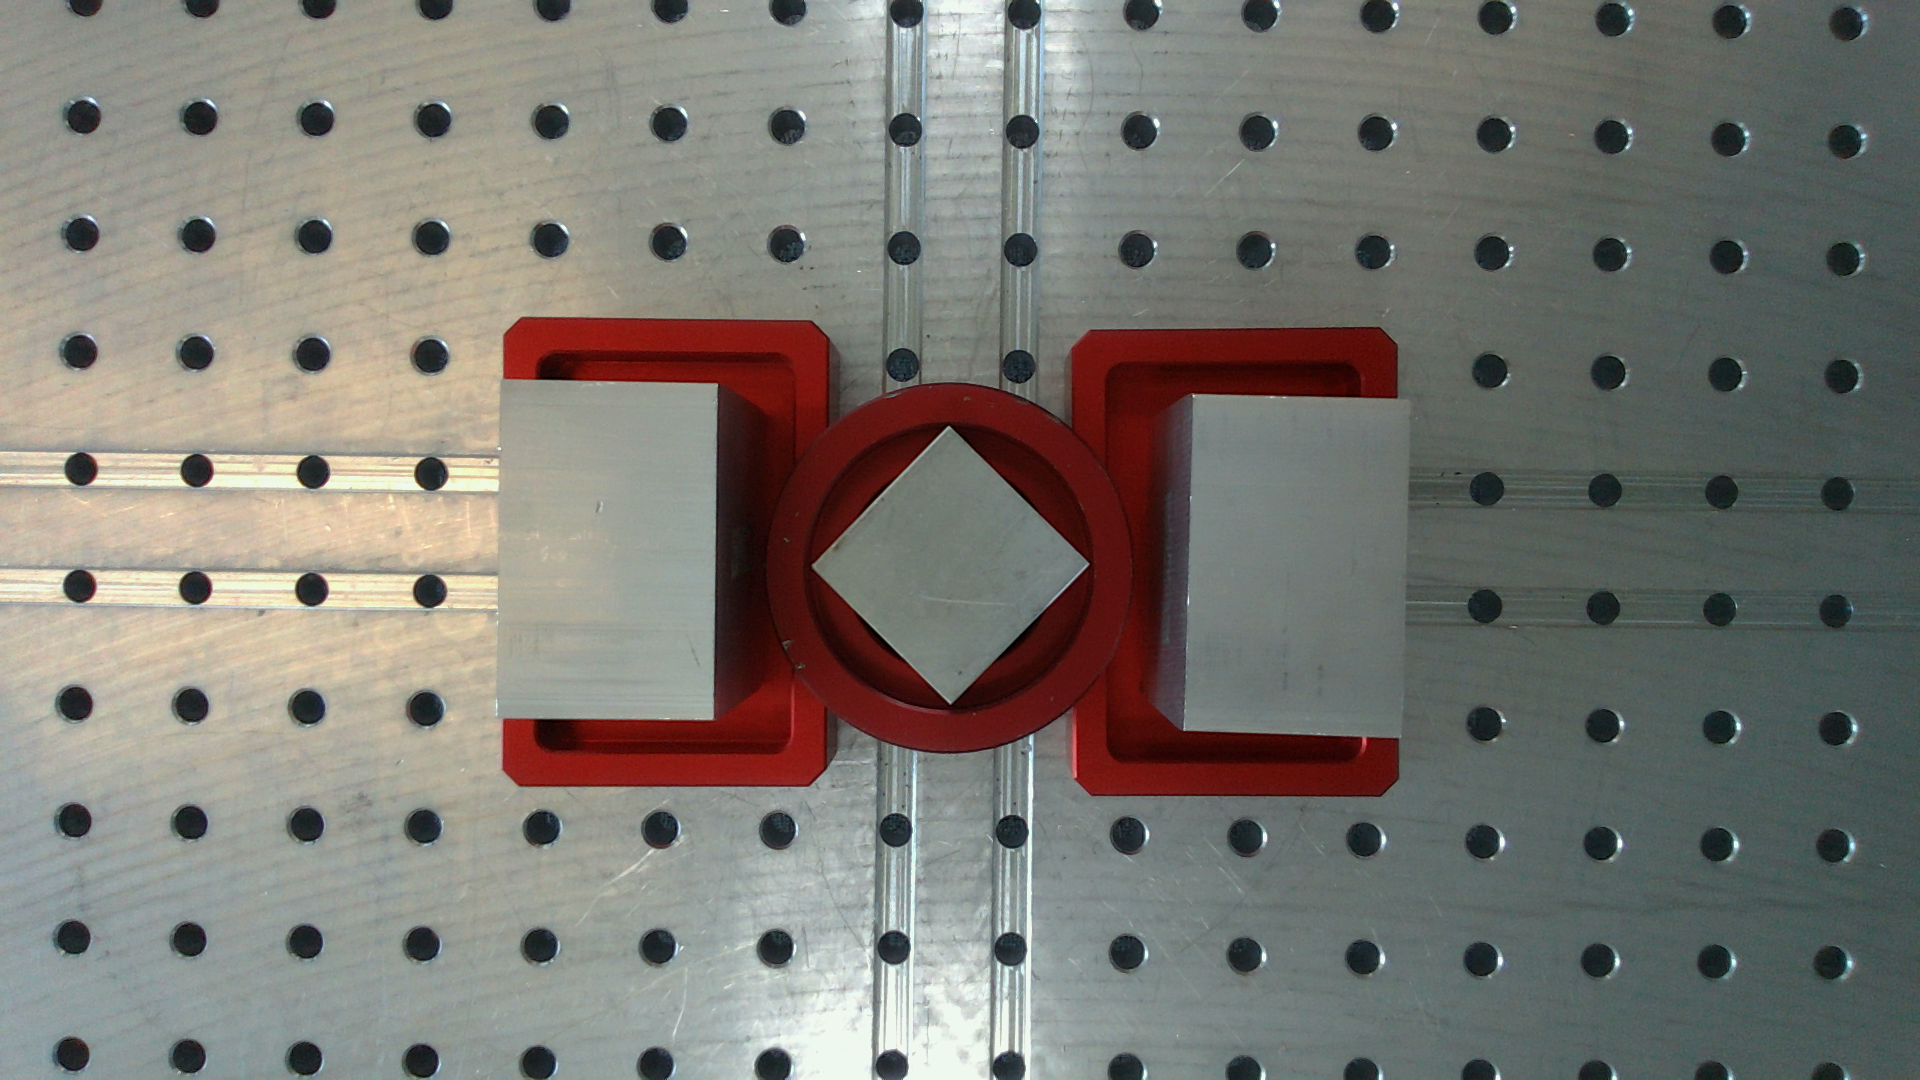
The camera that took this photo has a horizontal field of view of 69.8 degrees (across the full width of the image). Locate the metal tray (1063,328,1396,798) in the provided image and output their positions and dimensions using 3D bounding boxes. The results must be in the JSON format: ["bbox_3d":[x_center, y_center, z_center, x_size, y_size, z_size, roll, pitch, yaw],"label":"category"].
[{"bbox_3d":[0.076,0.006,0.395,0.090,0.030,0.130,0,90,0],"label":"metal tray"}]

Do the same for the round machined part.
[{"bbox_3d":[-0.003,0.008,0.380,0.098,0.042,0.098,0,90,0],"label":"round machined part"}]

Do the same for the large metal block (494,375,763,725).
[{"bbox_3d":[-0.082,0.002,0.357,0.050,0.080,0.080,1,90,0],"label":"large metal block"}]

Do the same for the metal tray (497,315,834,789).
[{"bbox_3d":[-0.082,0.003,0.394,0.090,0.030,0.130,1,90,0],"label":"metal tray"}]

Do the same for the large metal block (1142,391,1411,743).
[{"bbox_3d":[0.078,0.006,0.357,0.050,0.080,0.080,1,90,0],"label":"large metal block"}]

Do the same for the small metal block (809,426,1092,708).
[{"bbox_3d":[-0.002,0.007,0.357,0.050,0.025,0.050,45,90,0],"label":"small metal block"}]
